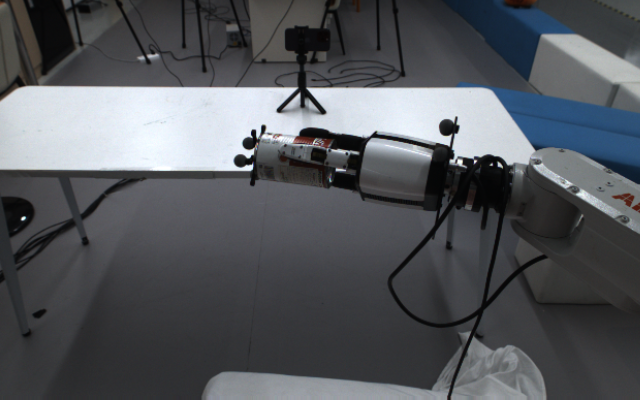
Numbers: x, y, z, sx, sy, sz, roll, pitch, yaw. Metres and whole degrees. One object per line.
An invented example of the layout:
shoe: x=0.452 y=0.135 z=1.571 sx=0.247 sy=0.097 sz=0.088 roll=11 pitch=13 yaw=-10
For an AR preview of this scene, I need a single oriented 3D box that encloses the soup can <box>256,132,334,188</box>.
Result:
soup can: x=-0.031 y=-0.055 z=0.665 sx=0.101 sy=0.067 sz=0.067 roll=7 pitch=35 yaw=11
